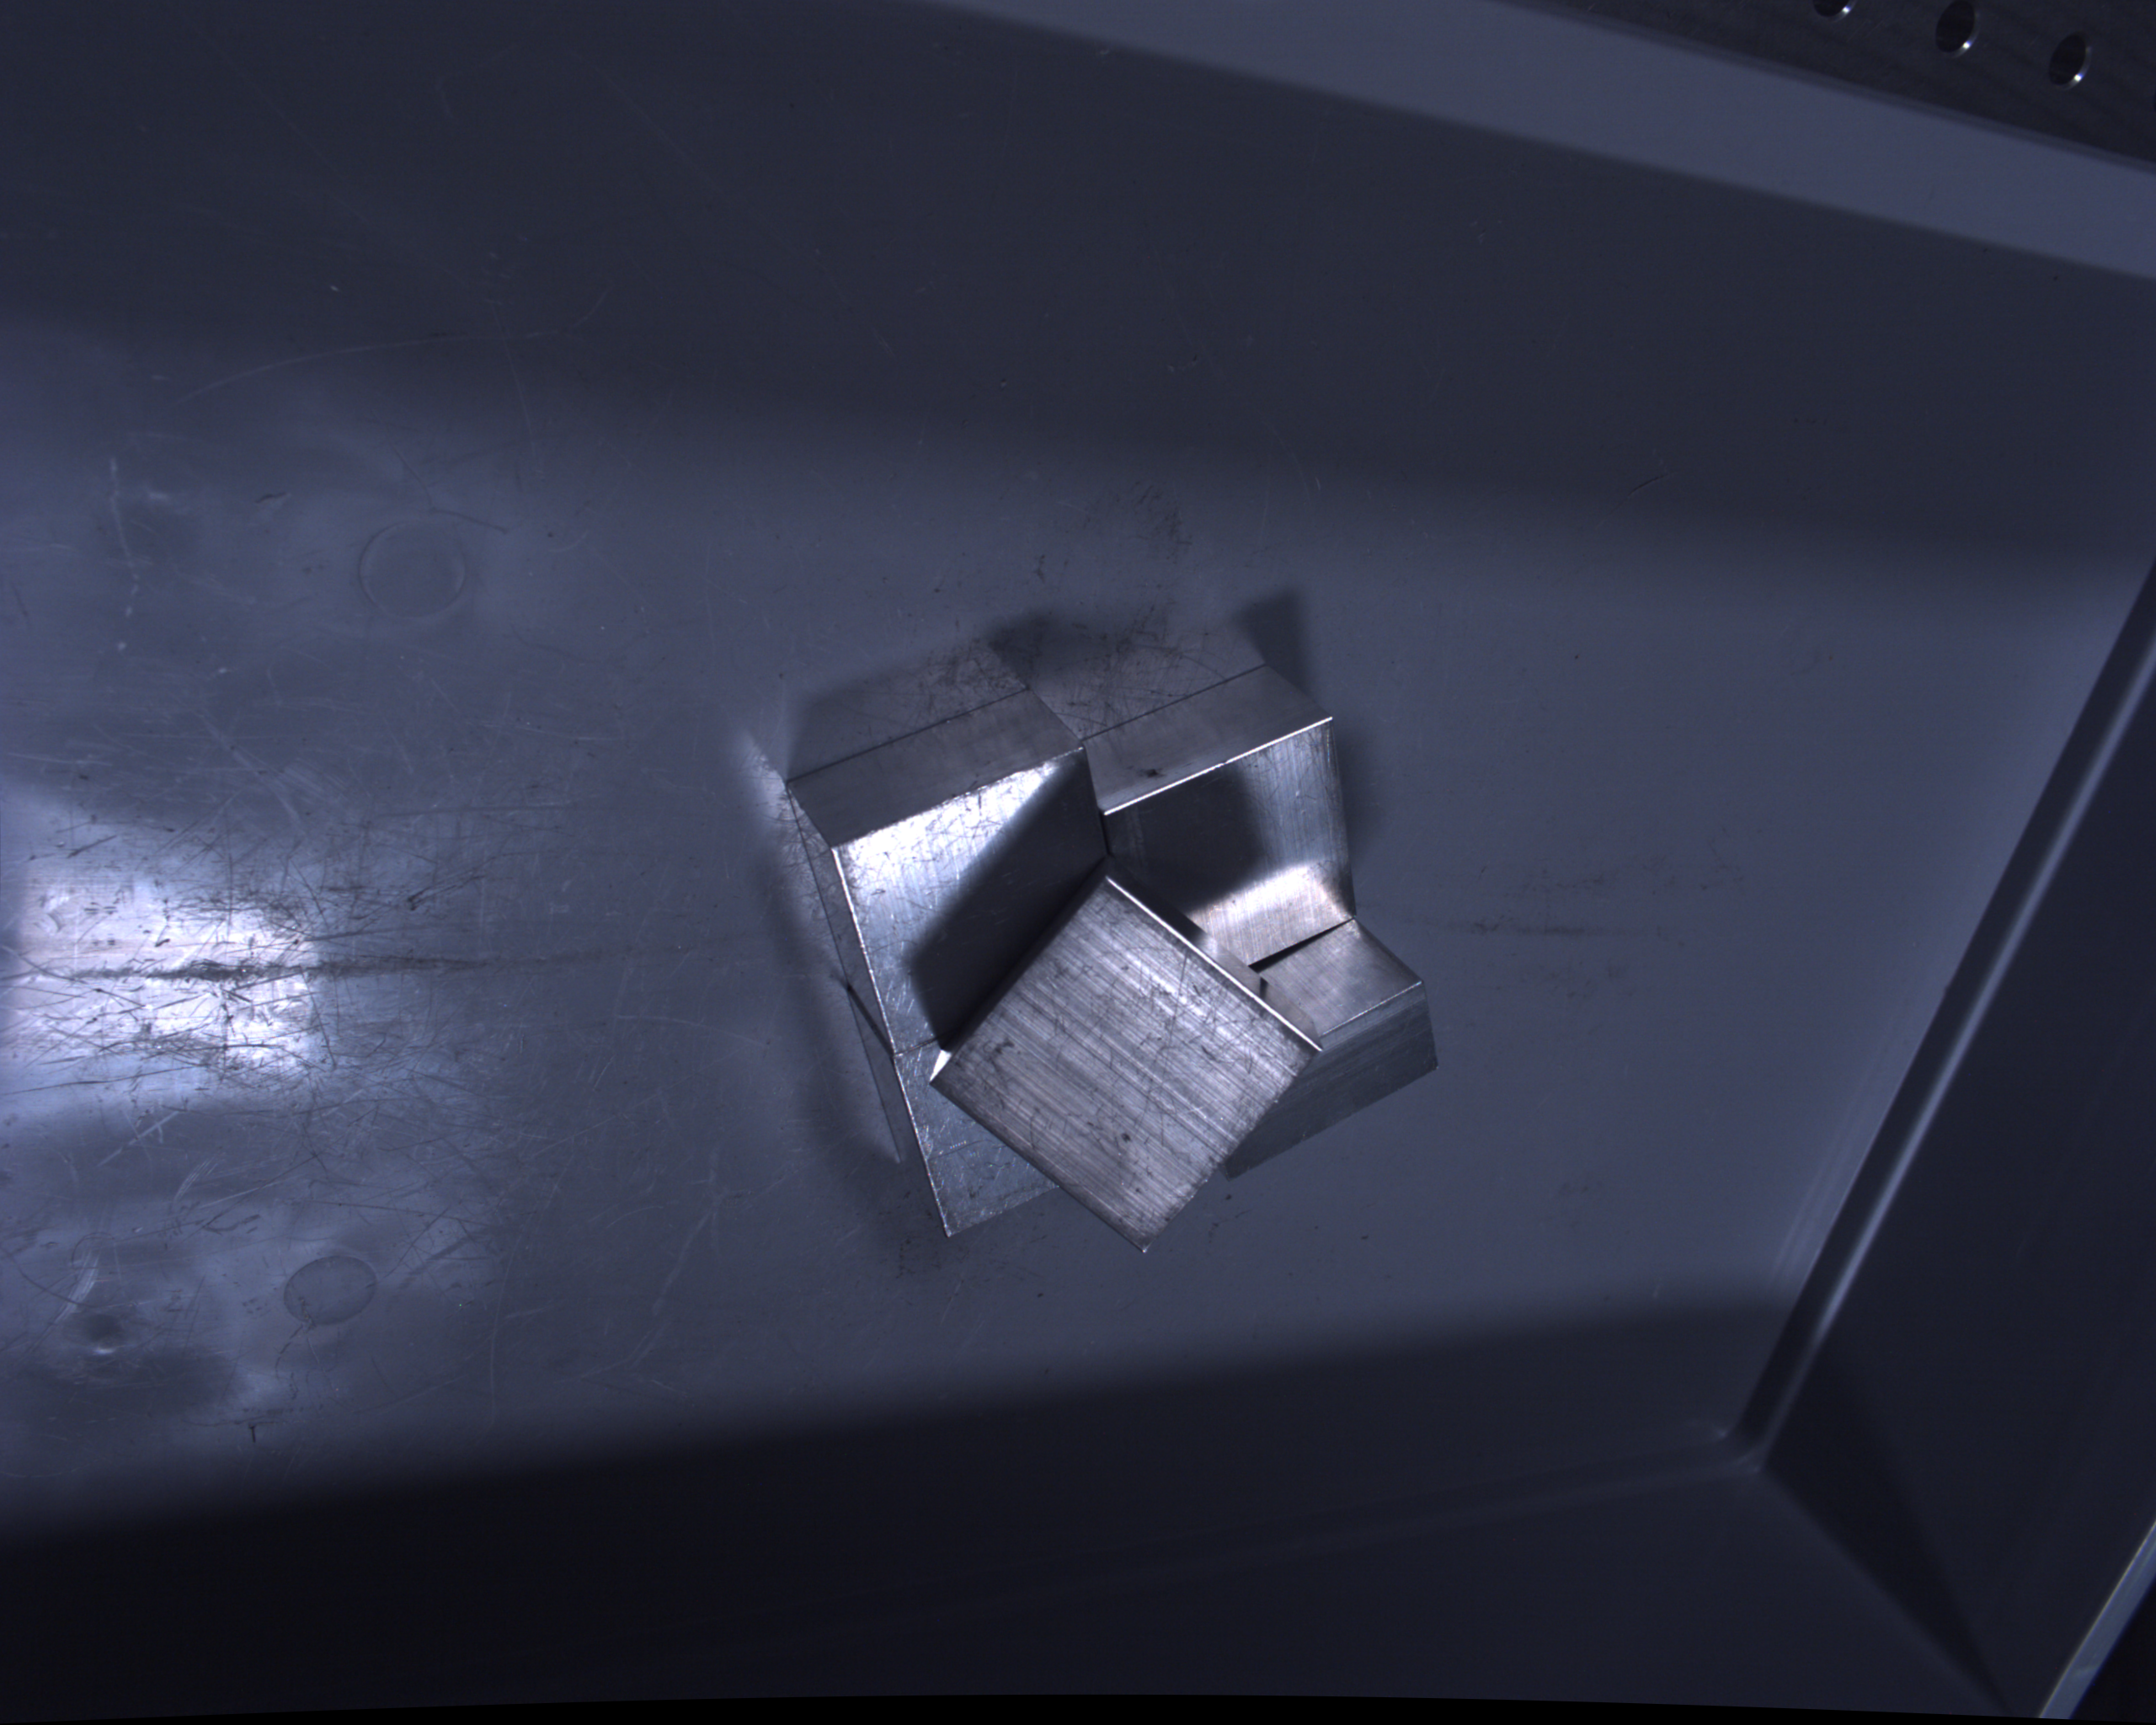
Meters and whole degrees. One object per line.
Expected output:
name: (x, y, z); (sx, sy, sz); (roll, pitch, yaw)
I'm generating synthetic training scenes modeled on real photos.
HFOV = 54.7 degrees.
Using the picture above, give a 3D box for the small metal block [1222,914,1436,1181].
small metal block: (0.038, 0.031, 0.432); (0.050, 0.050, 0.025); (-26, 128, -14)

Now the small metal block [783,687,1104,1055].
small metal block: (-0.023, 0.001, 0.397); (0.050, 0.025, 0.050); (-23, 127, -15)

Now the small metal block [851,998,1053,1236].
small metal block: (-0.014, 0.041, 0.426); (0.050, 0.025, 0.050); (-23, 127, -15)

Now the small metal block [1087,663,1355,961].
small metal block: (0.025, -0.005, 0.419); (0.050, 0.025, 0.050); (-23, 127, -15)

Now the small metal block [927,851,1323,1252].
small metal block: (0.009, 0.034, 0.386); (0.050, 0.025, 0.050); (39, 97, -5)
